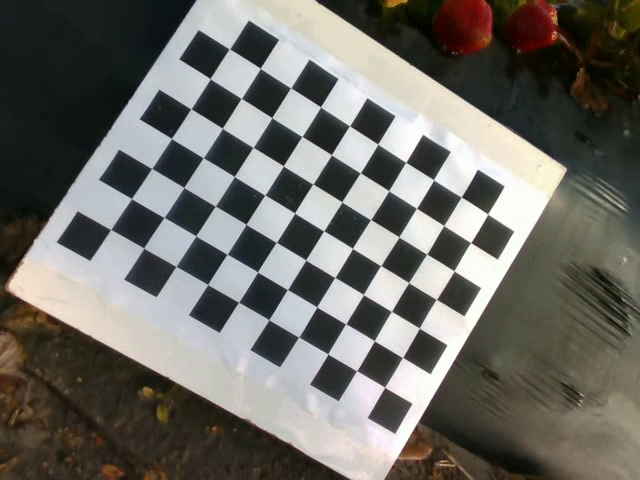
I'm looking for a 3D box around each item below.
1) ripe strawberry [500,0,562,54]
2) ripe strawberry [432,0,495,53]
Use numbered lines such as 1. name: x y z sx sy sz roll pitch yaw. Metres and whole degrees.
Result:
1. ripe strawberry: 0.186 -0.183 0.481 0.044 0.042 0.055 -32 43 -6
2. ripe strawberry: 0.117 -0.170 0.430 0.050 0.050 0.065 -8 36 -6
